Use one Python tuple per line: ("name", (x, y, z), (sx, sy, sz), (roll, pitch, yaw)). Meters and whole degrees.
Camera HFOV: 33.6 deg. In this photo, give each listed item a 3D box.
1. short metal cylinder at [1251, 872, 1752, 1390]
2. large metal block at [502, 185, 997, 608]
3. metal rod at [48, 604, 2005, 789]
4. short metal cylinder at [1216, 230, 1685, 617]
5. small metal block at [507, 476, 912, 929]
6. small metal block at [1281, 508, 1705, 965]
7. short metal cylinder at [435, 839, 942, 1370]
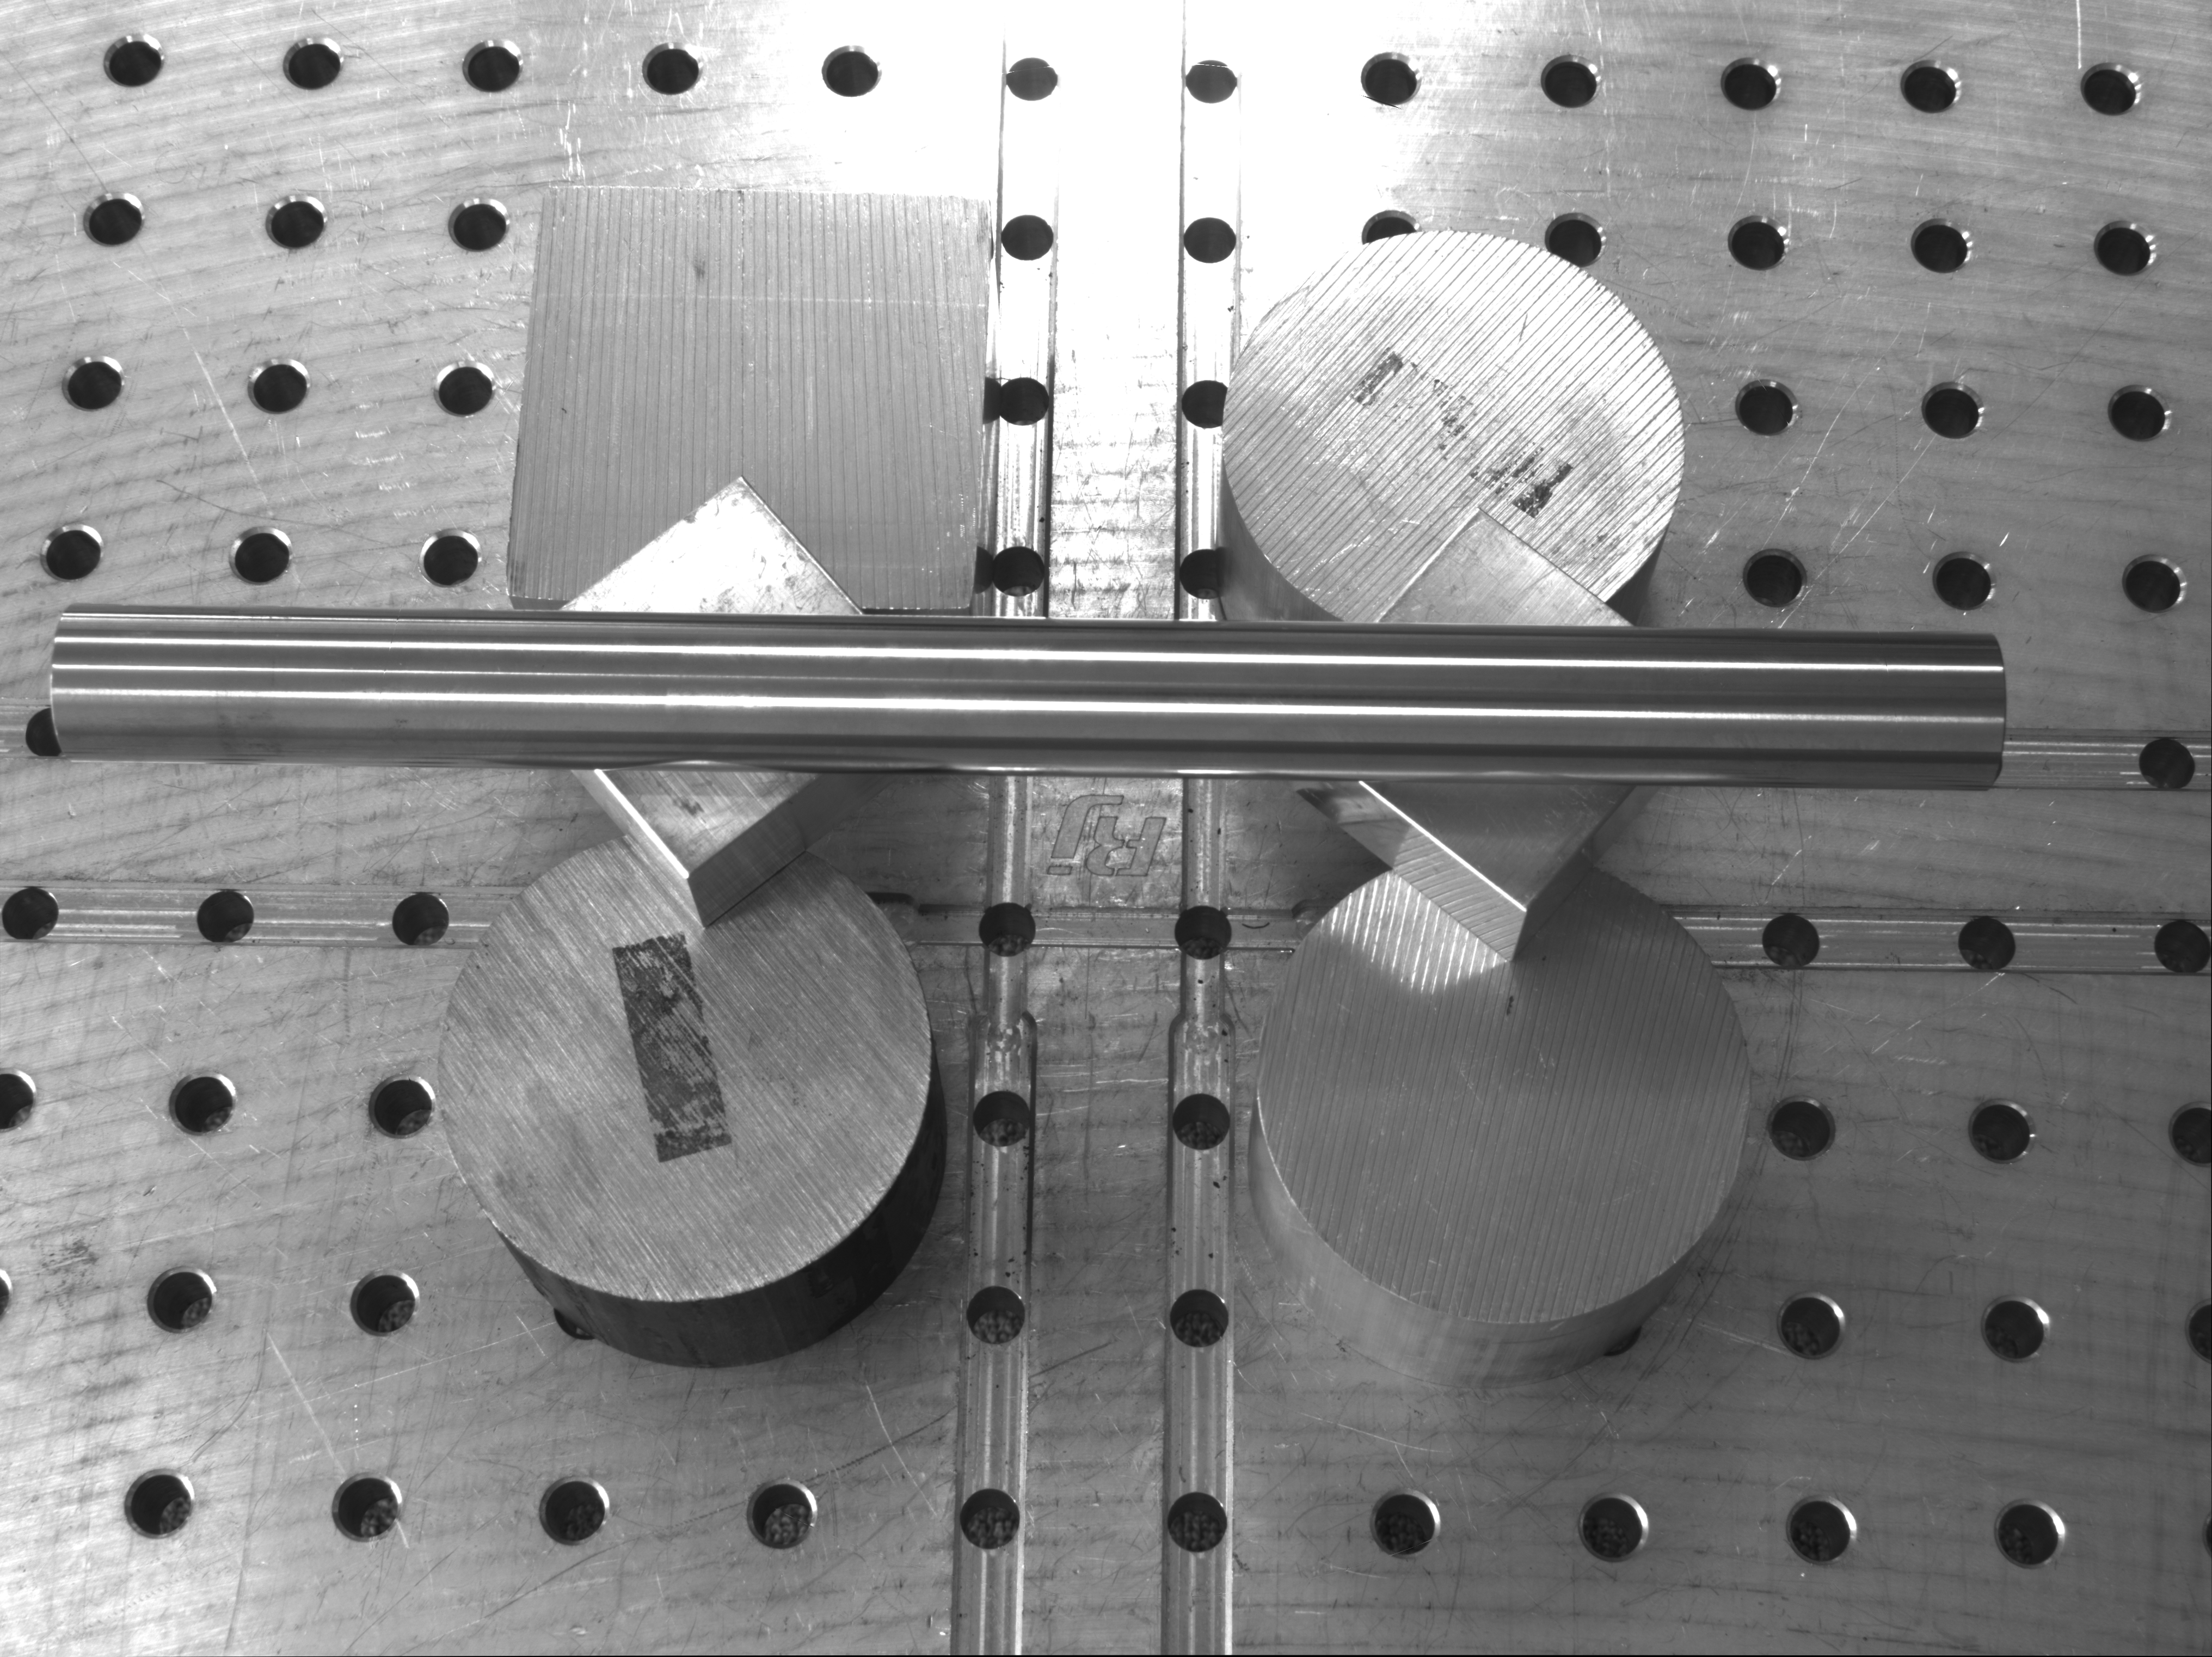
("short metal cylinder", (0.064, 0.050, 0.616), (0.080, 0.050, 0.080), (0, 70, 0))
("large metal block", (-0.061, -0.067, 0.658), (0.080, 0.050, 0.080), (1, 70, 1))
("metal rod", (-0.012, -0.021, 0.575), (0.300, 0.025, 0.025), (1, 70, 0))
("short metal cylinder", (0.060, -0.059, 0.656), (0.080, 0.050, 0.080), (0, 70, 0))
("small metal block", (-0.063, -0.021, 0.602), (0.050, 0.025, 0.050), (-38, 74, -13))
("small metal block", (0.063, -0.015, 0.600), (0.050, 0.025, 0.050), (39, 74, 13))
("short metal cylinder", (-0.068, 0.046, 0.616), (0.080, 0.050, 0.080), (0, 70, 0))
